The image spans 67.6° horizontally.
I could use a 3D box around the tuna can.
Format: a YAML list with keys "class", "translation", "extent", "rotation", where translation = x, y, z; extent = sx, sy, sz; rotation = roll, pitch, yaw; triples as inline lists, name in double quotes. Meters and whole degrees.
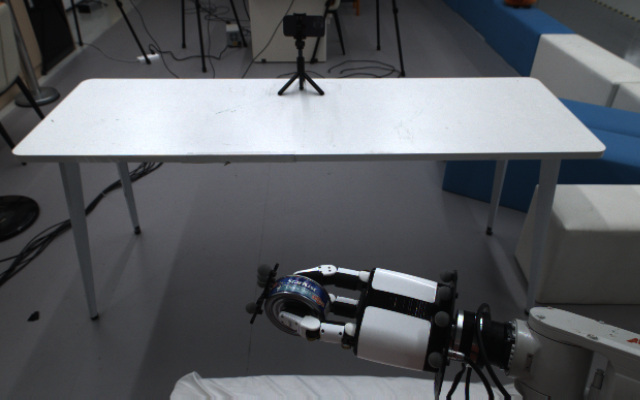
- class: "tuna can"
  translation: [-0.027, 0.147, 0.645]
  extent: [0.085, 0.085, 0.034]
  rotation: [9, 35, 10]
